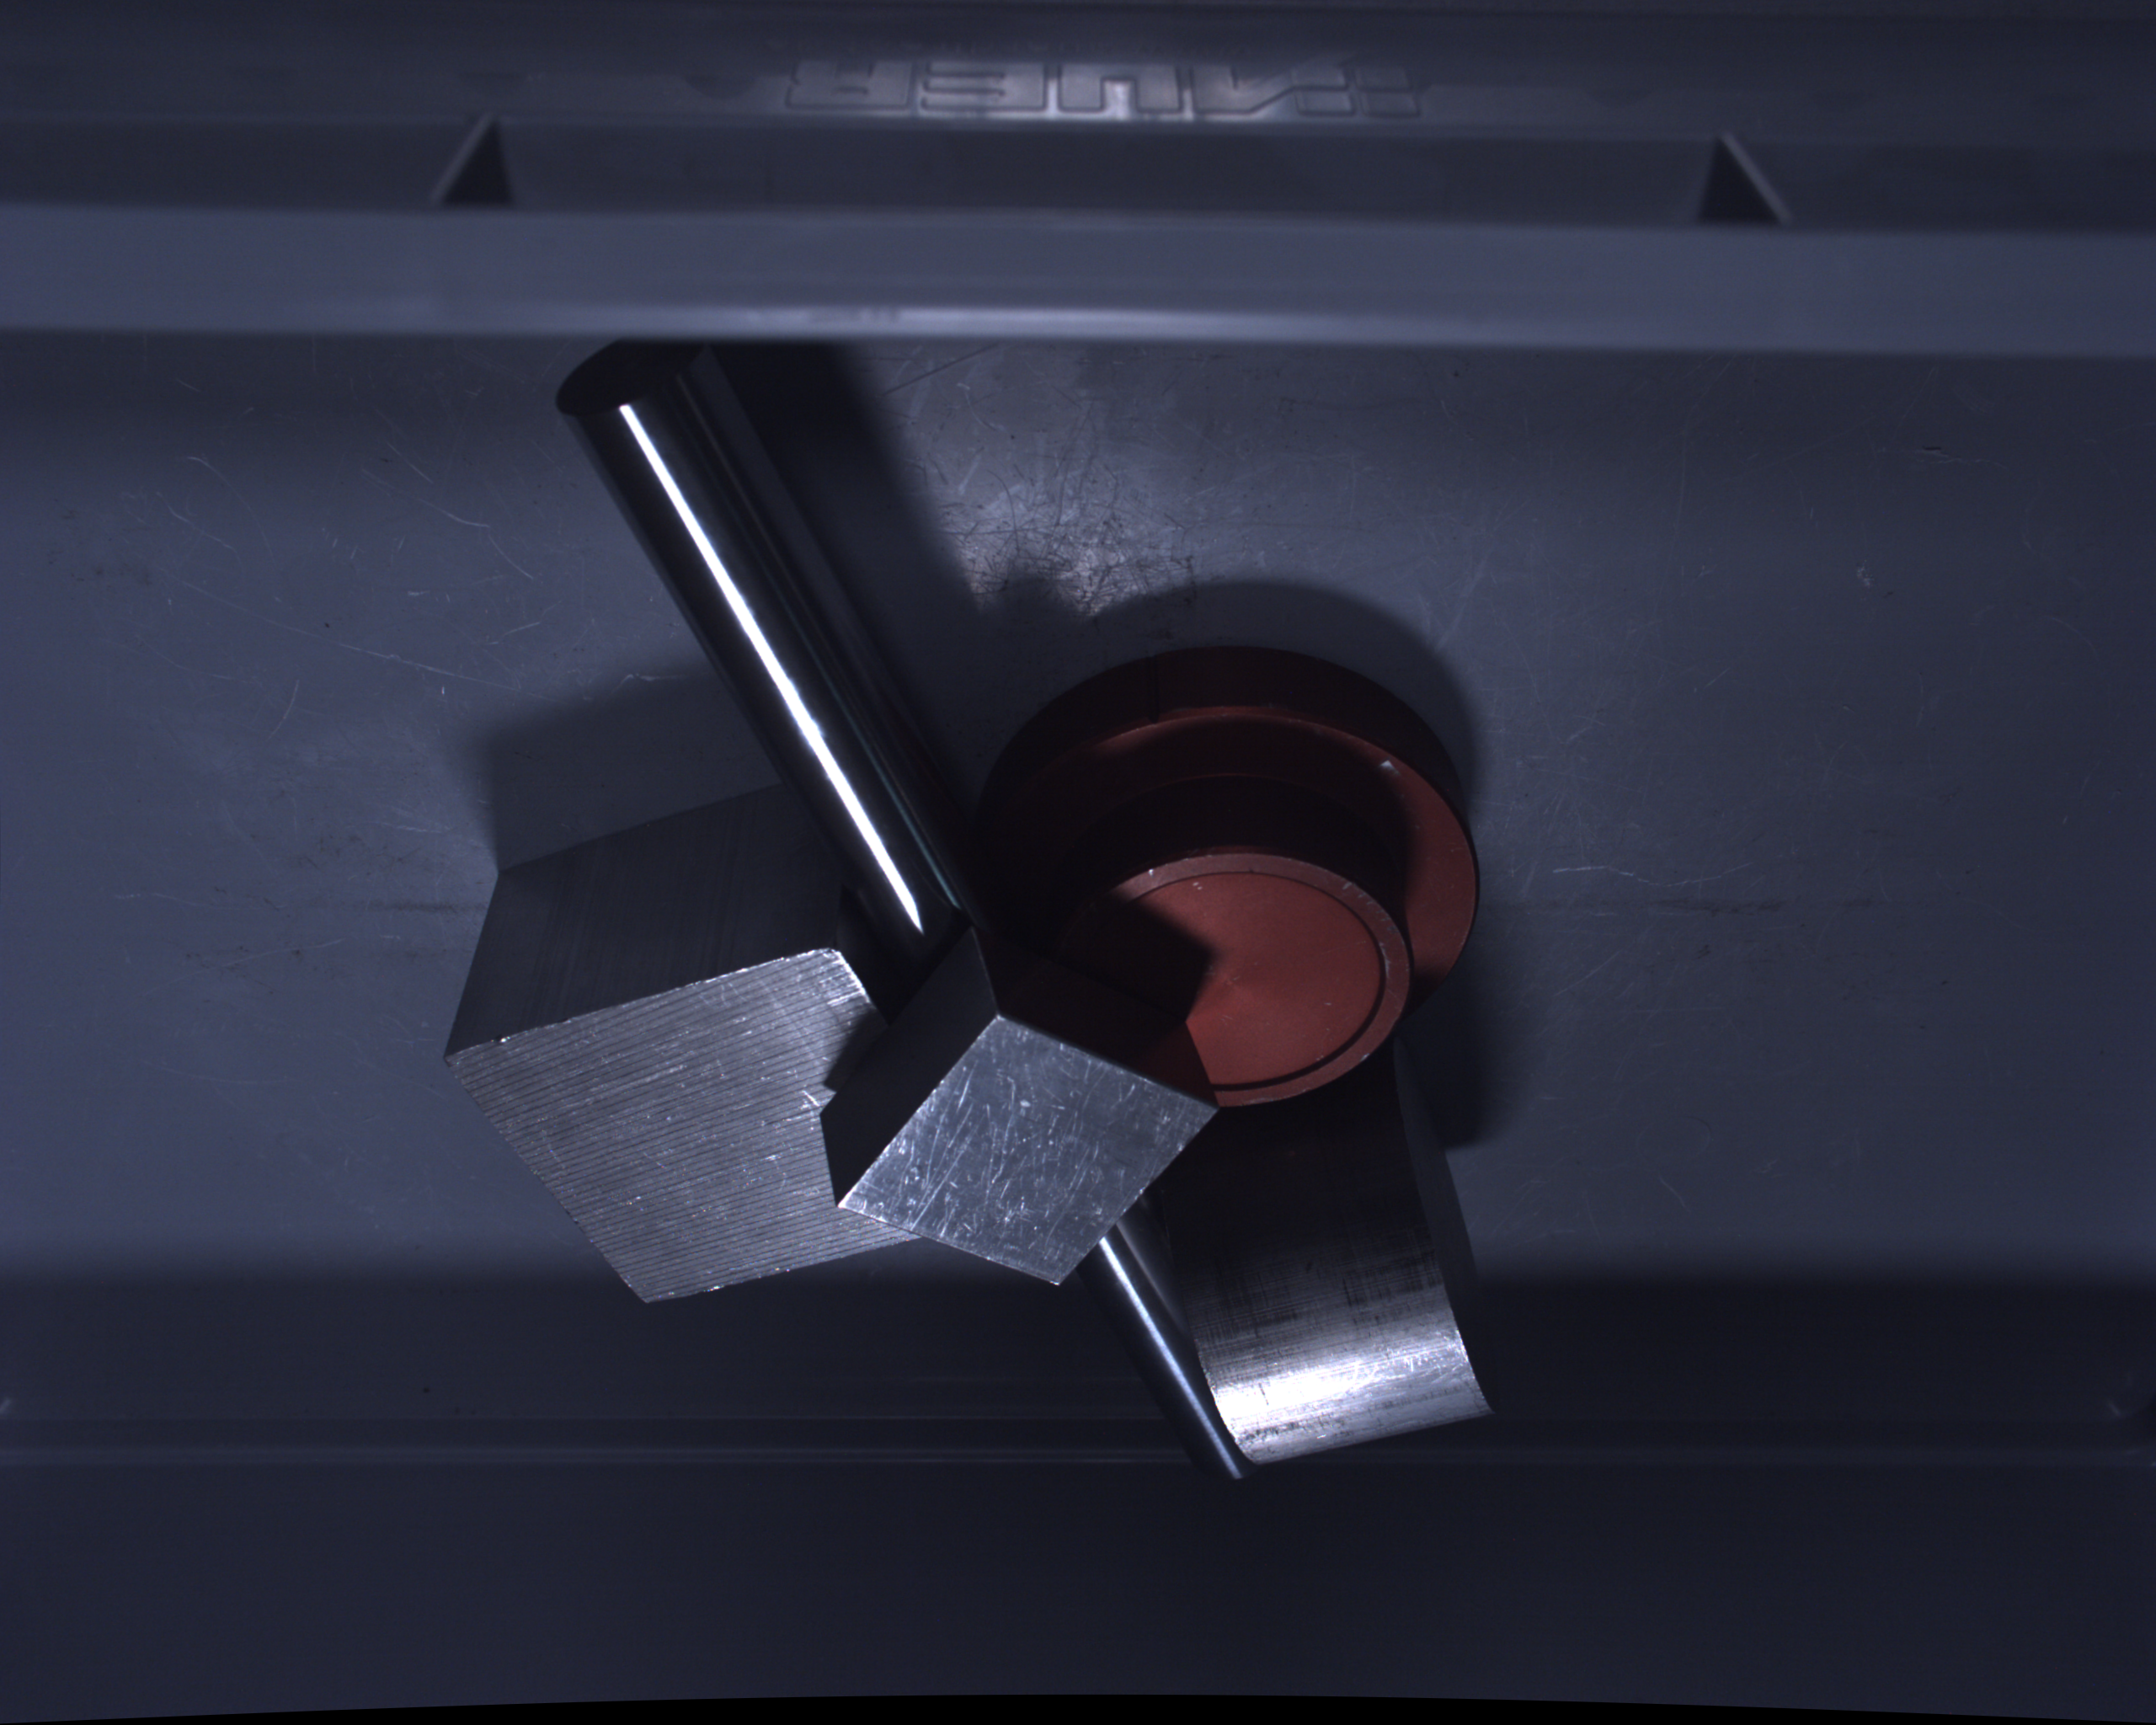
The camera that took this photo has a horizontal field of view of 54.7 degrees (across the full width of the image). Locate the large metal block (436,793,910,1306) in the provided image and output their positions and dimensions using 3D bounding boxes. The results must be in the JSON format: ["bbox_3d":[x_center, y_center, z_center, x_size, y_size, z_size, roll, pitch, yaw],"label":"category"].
[{"bbox_3d":[-0.066,0.037,0.418,0.080,0.050,0.080,-16,129,12],"label":"large metal block"}]

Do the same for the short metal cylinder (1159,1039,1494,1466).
[{"bbox_3d":[0.053,0.082,0.442,0.050,0.080,0.080,-16,129,13],"label":"short metal cylinder"}]

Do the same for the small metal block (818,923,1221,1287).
[{"bbox_3d":[-0.011,0.045,0.382,0.050,0.025,0.050,26,114,-30],"label":"small metal block"}]

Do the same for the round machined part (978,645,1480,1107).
[{"bbox_3d":[0.028,0.010,0.404,0.099,0.042,0.097,-1,130,0],"label":"round machined part"}]

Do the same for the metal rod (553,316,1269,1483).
[{"bbox_3d":[-0.015,0.031,0.405,0.025,0.025,0.299,-16,129,13],"label":"metal rod"}]
